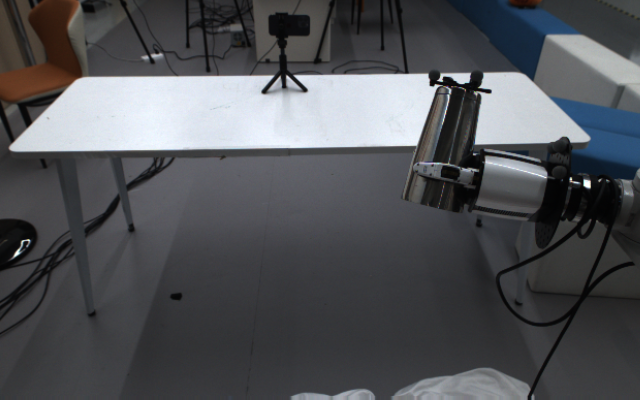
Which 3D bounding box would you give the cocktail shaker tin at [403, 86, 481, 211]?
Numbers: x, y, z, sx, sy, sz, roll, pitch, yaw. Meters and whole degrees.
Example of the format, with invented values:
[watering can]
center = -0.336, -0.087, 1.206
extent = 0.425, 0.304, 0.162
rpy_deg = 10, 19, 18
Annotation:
[cocktail shaker tin]
center = 0.183, -0.075, 0.711
extent = 0.093, 0.170, 0.093
rpy_deg = 13, 4, -1
